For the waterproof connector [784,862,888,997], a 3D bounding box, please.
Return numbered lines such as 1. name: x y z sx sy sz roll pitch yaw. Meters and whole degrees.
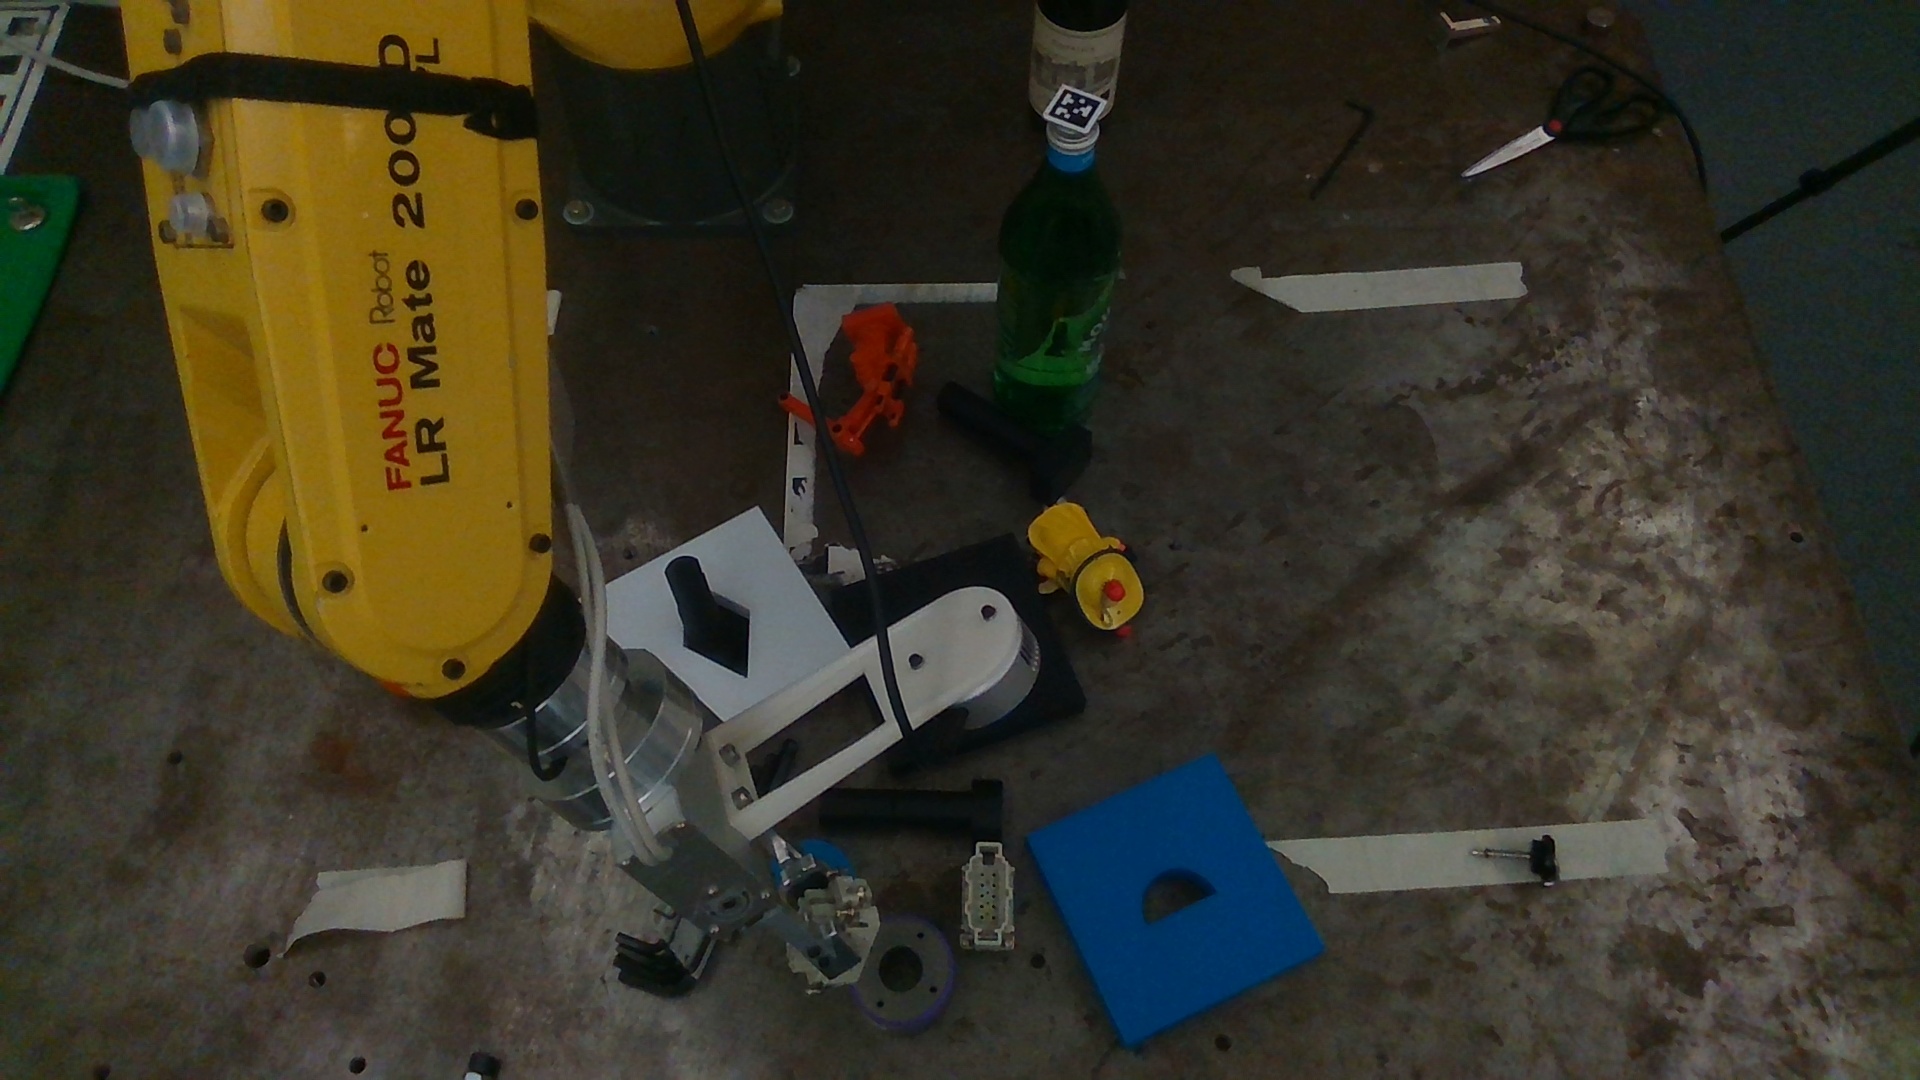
1. waterproof connector: -0.067 0.206 0.731 0.038 0.069 0.037 6 30 -32
